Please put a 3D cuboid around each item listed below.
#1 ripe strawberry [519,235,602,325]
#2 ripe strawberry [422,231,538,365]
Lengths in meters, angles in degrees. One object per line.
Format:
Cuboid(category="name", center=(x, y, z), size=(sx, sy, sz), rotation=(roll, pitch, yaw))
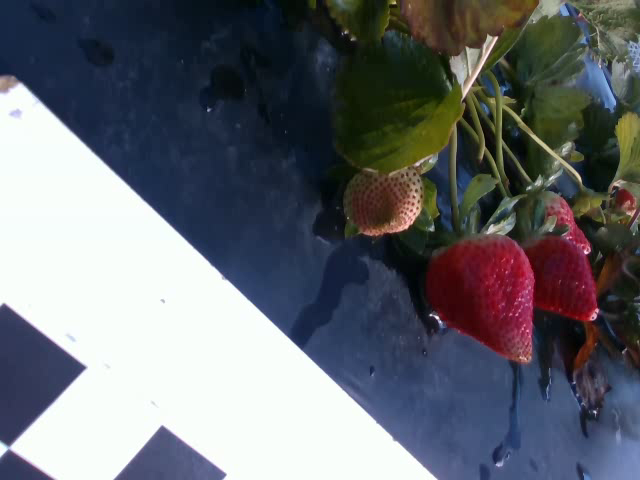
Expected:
Cuboid(category="ripe strawberry", center=(0.126, 0.024, 0.304), size=(0.044, 0.055, 0.042), rotation=(-20, -37, -19))
Cuboid(category="ripe strawberry", center=(0.072, 0.025, 0.237), size=(0.050, 0.050, 0.065), rotation=(5, 40, -22))
